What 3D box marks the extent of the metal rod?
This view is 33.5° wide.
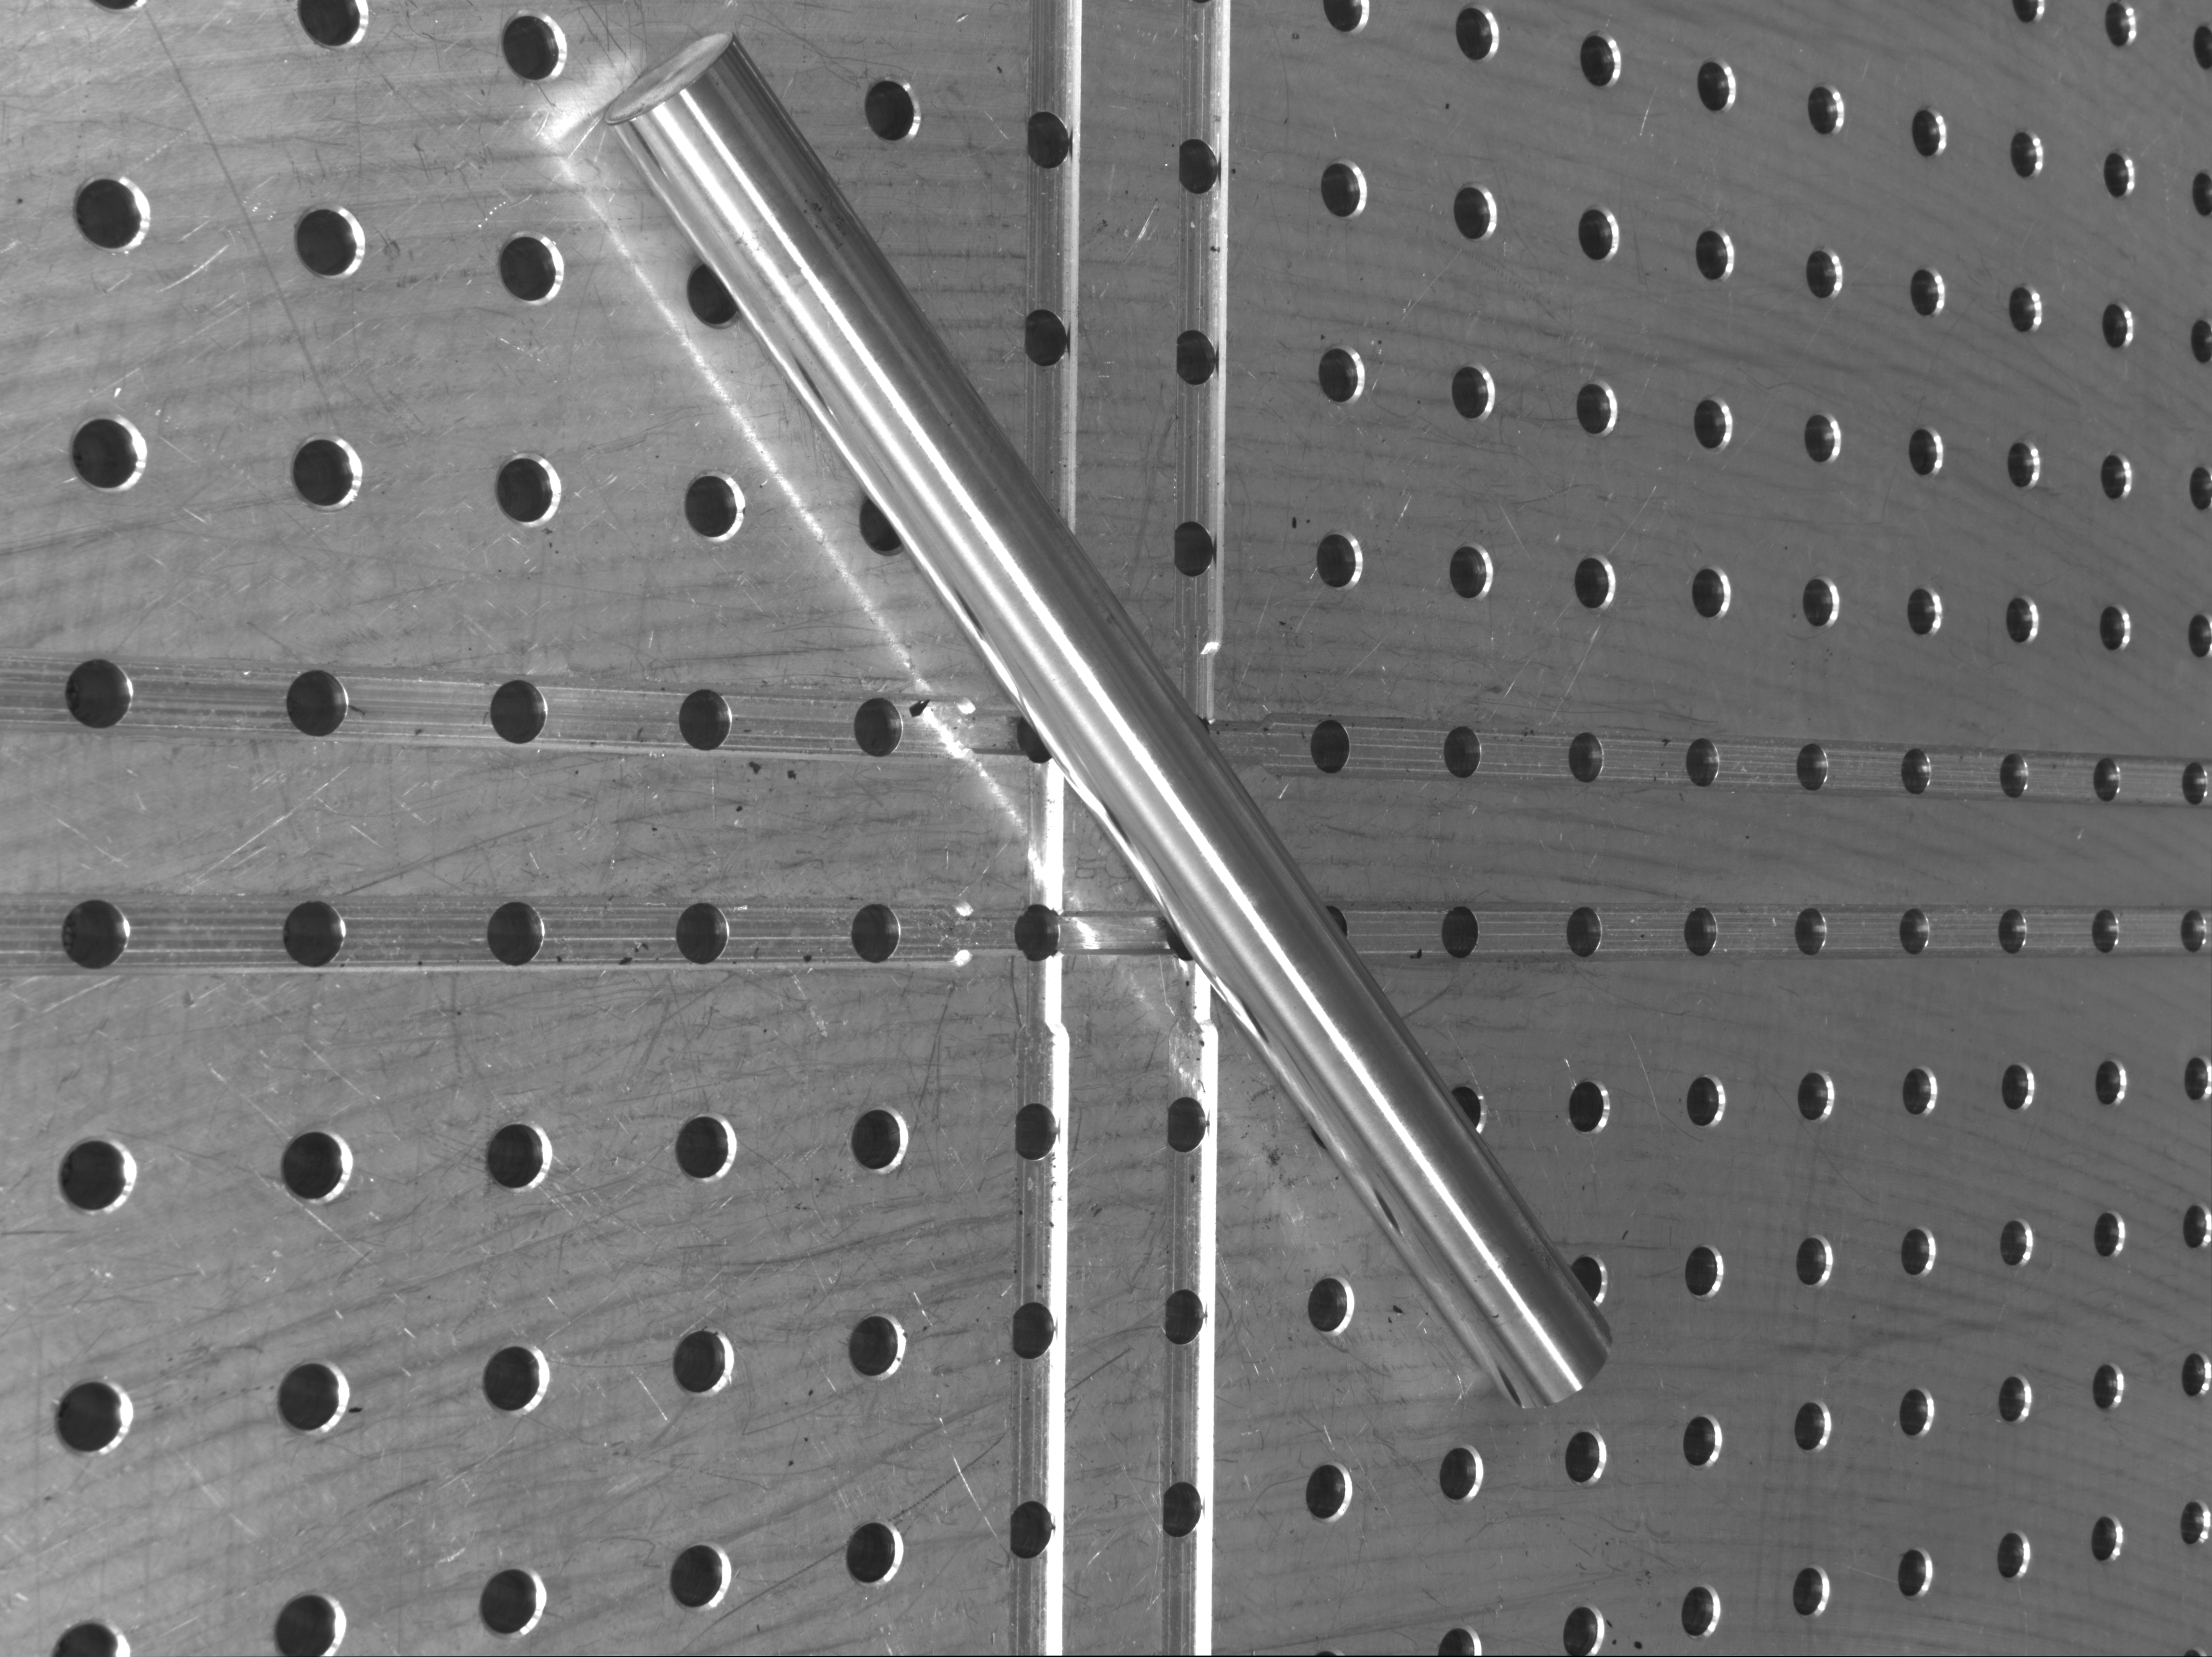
[{"bbox_3d":[0.008,-0.008,0.646,0.025,0.025,0.301,-50,119,-28],"label":"metal rod"}]
